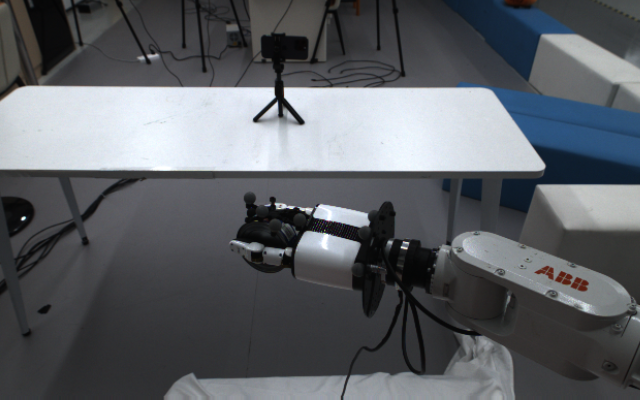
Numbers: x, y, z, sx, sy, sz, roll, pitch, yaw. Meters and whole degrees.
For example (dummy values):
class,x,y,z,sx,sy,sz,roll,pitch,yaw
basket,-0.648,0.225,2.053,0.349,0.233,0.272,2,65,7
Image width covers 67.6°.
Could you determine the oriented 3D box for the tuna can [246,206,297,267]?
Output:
class,x,y,z,sx,sy,sz,roll,pitch,yaw
tuna can,-0.074,0.060,0.700,0.085,0.085,0.034,16,29,19
